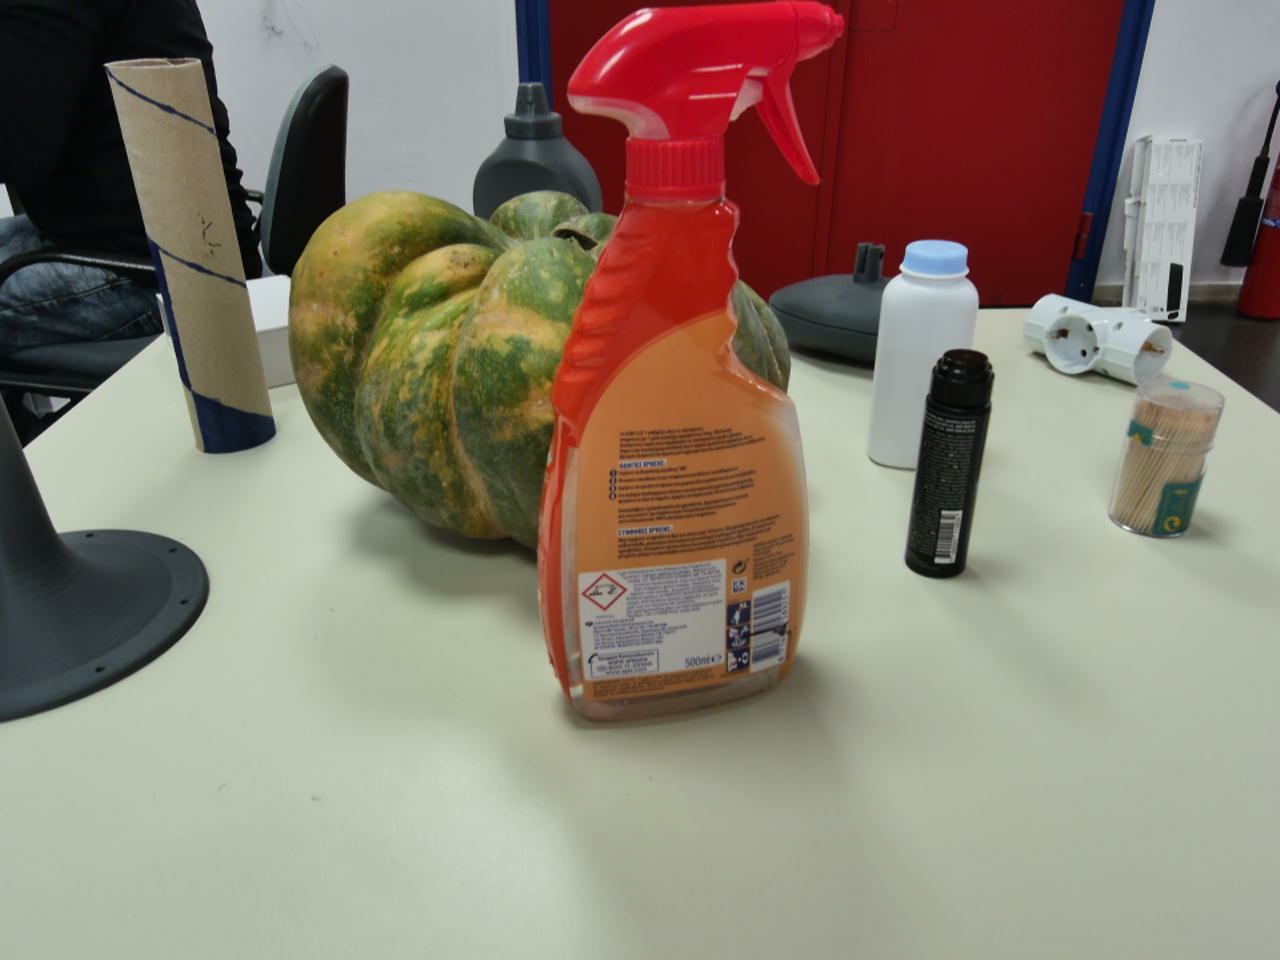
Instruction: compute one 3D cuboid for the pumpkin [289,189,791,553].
[{"bbox_3d":[-0.051,-0.068,0.534,0.270,0.173,0.237,18,31,33],"label":"pumpkin"}]
